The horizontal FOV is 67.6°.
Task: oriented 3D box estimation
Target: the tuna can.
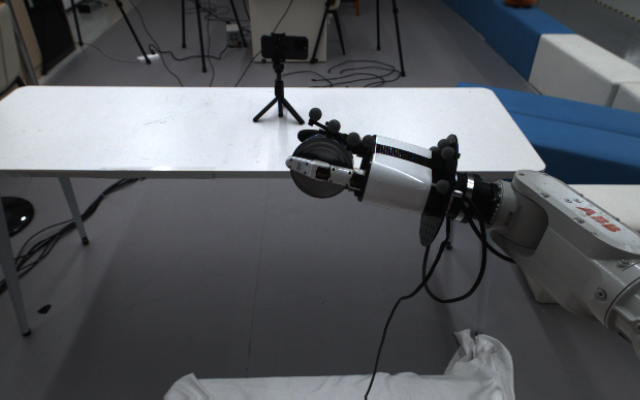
[{"bbox_3d":[0.005,-0.049,0.667,0.085,0.085,0.034,7,17,7],"label":"tuna can"}]
